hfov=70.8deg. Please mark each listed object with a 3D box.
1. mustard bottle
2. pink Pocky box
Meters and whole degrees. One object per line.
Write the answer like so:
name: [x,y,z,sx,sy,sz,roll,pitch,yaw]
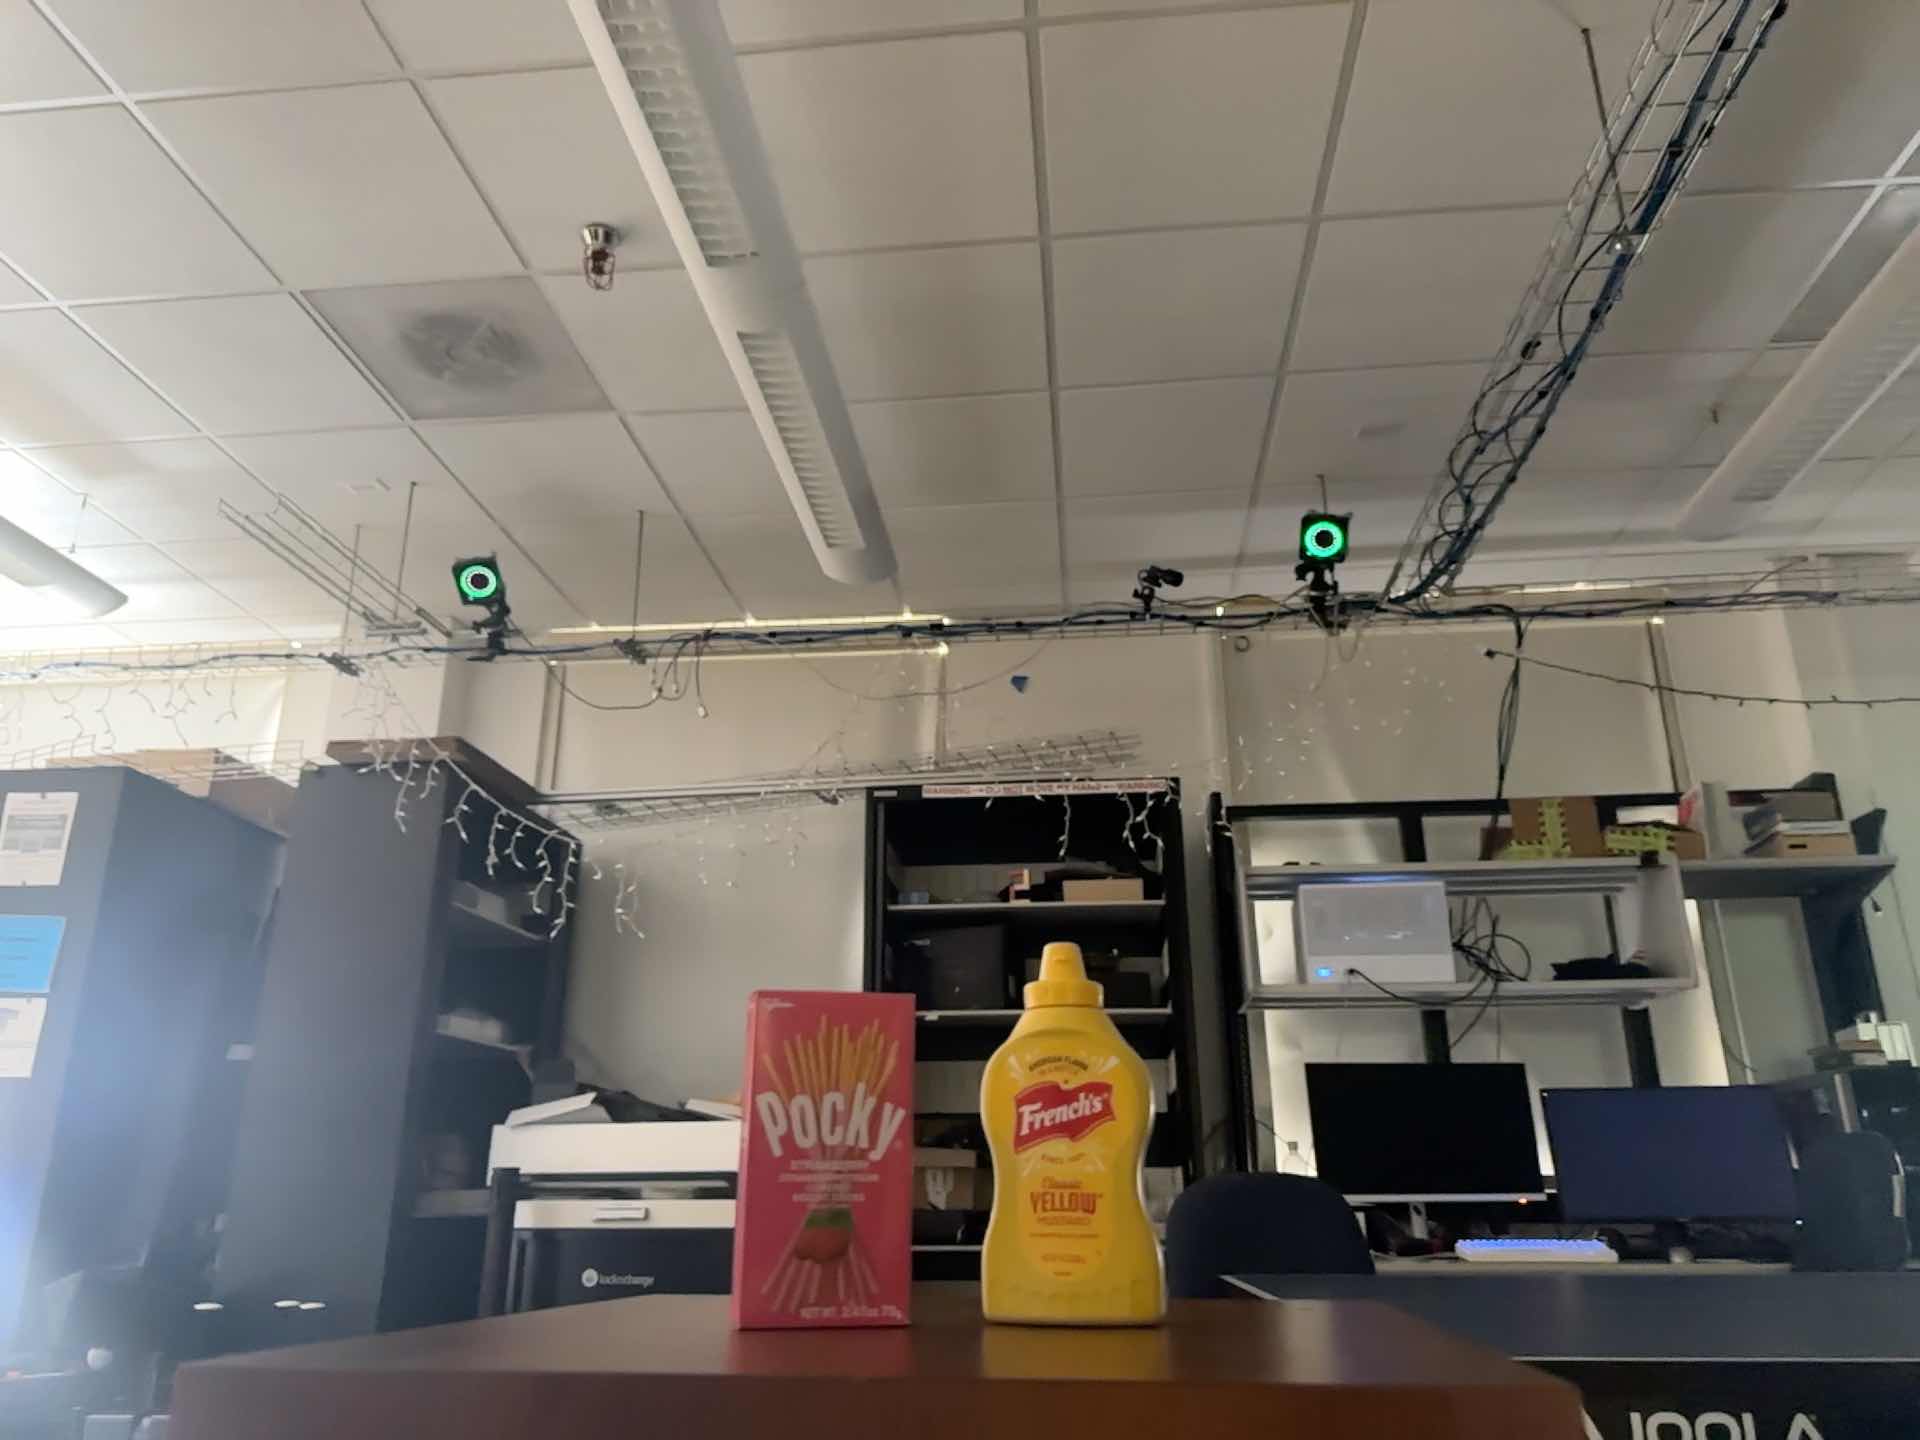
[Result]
mustard bottle: [0.054,0.201,0.674,0.092,0.184,0.054,-4,-15,11]
pink Pocky box: [-0.062,0.209,0.652,0.084,0.154,0.029,4,-17,-8]
